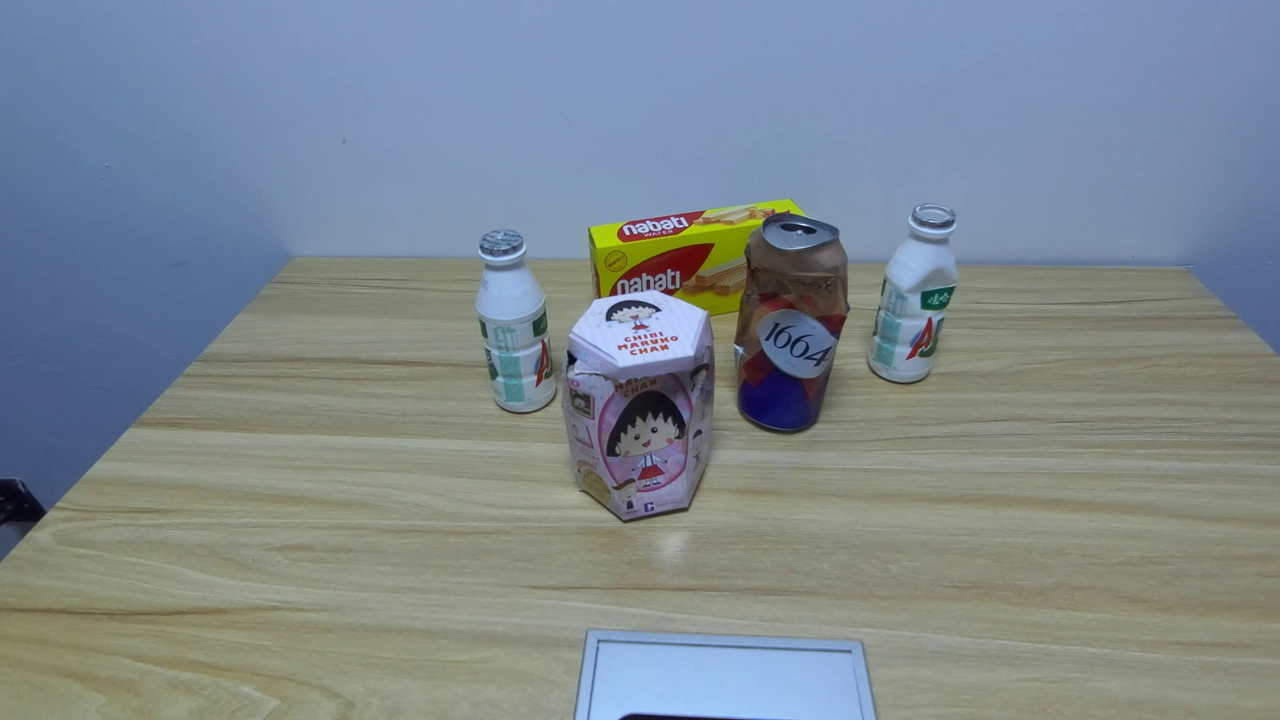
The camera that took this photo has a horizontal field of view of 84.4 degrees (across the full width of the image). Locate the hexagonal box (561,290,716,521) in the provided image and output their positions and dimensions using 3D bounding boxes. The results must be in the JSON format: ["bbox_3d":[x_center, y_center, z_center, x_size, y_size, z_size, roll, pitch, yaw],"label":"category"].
[{"bbox_3d":[-0.001,0.031,0.479,0.091,0.135,0.090,15,37,23],"label":"hexagonal box"}]

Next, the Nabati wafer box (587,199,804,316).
[{"bbox_3d":[0.057,-0.087,0.664,0.203,0.093,0.042,-10,36,-10],"label":"Nabati wafer box"}]

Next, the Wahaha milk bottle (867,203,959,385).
[{"bbox_3d":[0.220,-0.050,0.565,0.056,0.148,0.056,-1,38,1],"label":"Wahaha milk bottle"}]

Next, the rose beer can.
[{"bbox_3d":[0.109,-0.023,0.522,0.073,0.162,0.068,3,35,3],"label":"rose beer can"}]

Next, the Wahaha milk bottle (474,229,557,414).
[{"bbox_3d":[-0.097,-0.028,0.550,0.053,0.147,0.053,-2,35,2],"label":"Wahaha milk bottle"}]
